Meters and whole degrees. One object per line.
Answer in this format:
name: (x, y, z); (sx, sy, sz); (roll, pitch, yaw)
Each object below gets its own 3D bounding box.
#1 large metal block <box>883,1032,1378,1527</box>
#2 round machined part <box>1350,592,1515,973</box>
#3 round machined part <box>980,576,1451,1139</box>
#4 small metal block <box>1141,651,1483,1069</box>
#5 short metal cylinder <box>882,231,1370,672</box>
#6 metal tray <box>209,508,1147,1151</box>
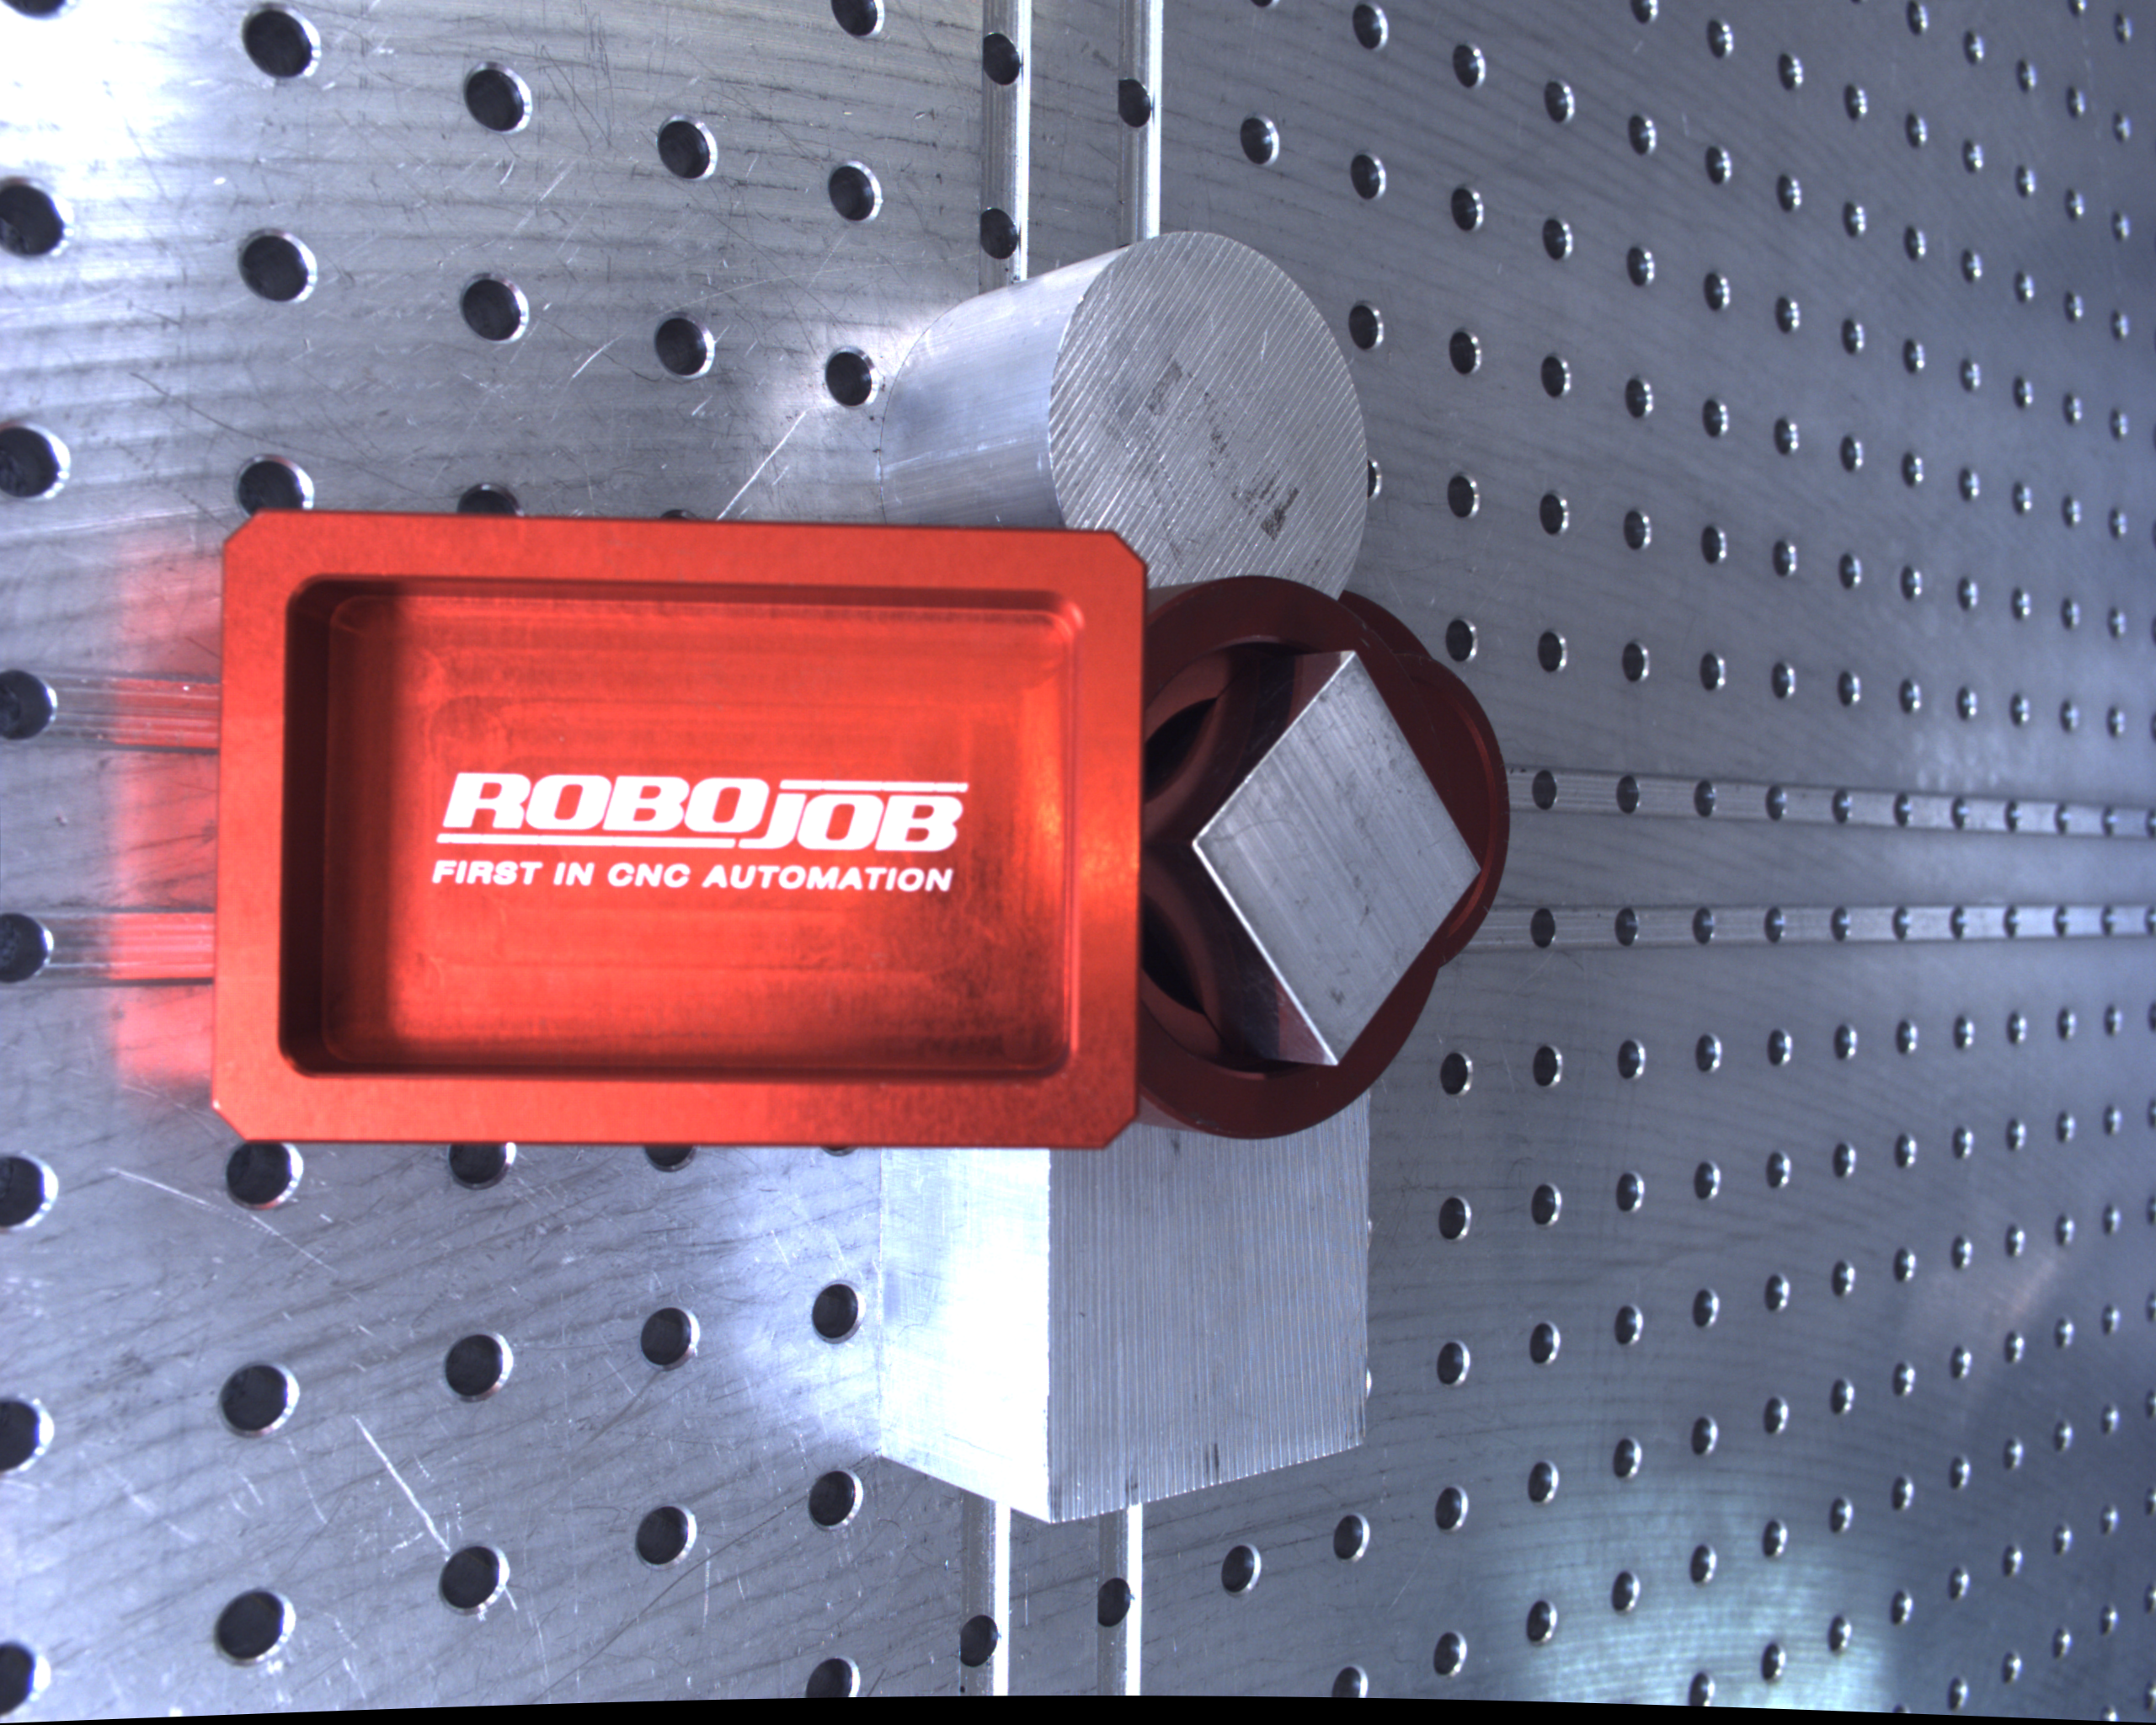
large metal block: (0.011, 0.073, 0.398); (0.081, 0.050, 0.080); (1, 90, -40)
round machined part: (0.055, -0.010, 0.442); (0.099, 0.042, 0.097); (0, 90, -40)
round machined part: (0.020, -0.001, 0.377); (0.099, 0.042, 0.097); (0, 90, -40)
small metal block: (0.037, -0.001, 0.360); (0.050, 0.025, 0.050); (-49, 119, -29)
short metal cylinder: (0.010, -0.075, 0.400); (0.081, 0.050, 0.080); (0, 90, -40)
metal tray: (-0.057, -0.004, 0.311); (0.131, 0.030, 0.089); (1, 89, -3)
